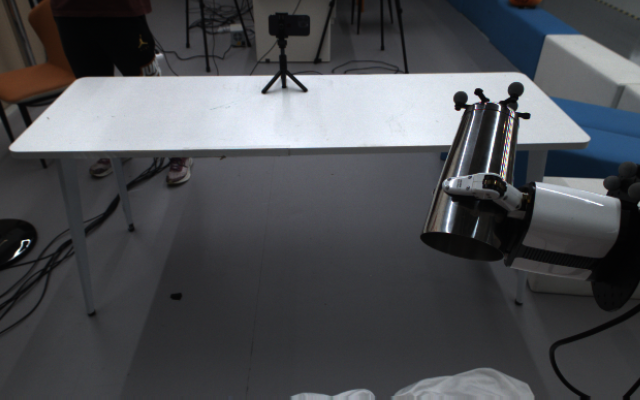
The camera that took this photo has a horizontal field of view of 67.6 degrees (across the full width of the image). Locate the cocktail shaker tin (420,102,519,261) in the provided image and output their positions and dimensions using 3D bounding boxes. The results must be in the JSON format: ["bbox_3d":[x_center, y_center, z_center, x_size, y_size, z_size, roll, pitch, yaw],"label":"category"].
[{"bbox_3d":[0.183,-0.023,0.565,0.093,0.093,0.170,14,73,16],"label":"cocktail shaker tin"}]
